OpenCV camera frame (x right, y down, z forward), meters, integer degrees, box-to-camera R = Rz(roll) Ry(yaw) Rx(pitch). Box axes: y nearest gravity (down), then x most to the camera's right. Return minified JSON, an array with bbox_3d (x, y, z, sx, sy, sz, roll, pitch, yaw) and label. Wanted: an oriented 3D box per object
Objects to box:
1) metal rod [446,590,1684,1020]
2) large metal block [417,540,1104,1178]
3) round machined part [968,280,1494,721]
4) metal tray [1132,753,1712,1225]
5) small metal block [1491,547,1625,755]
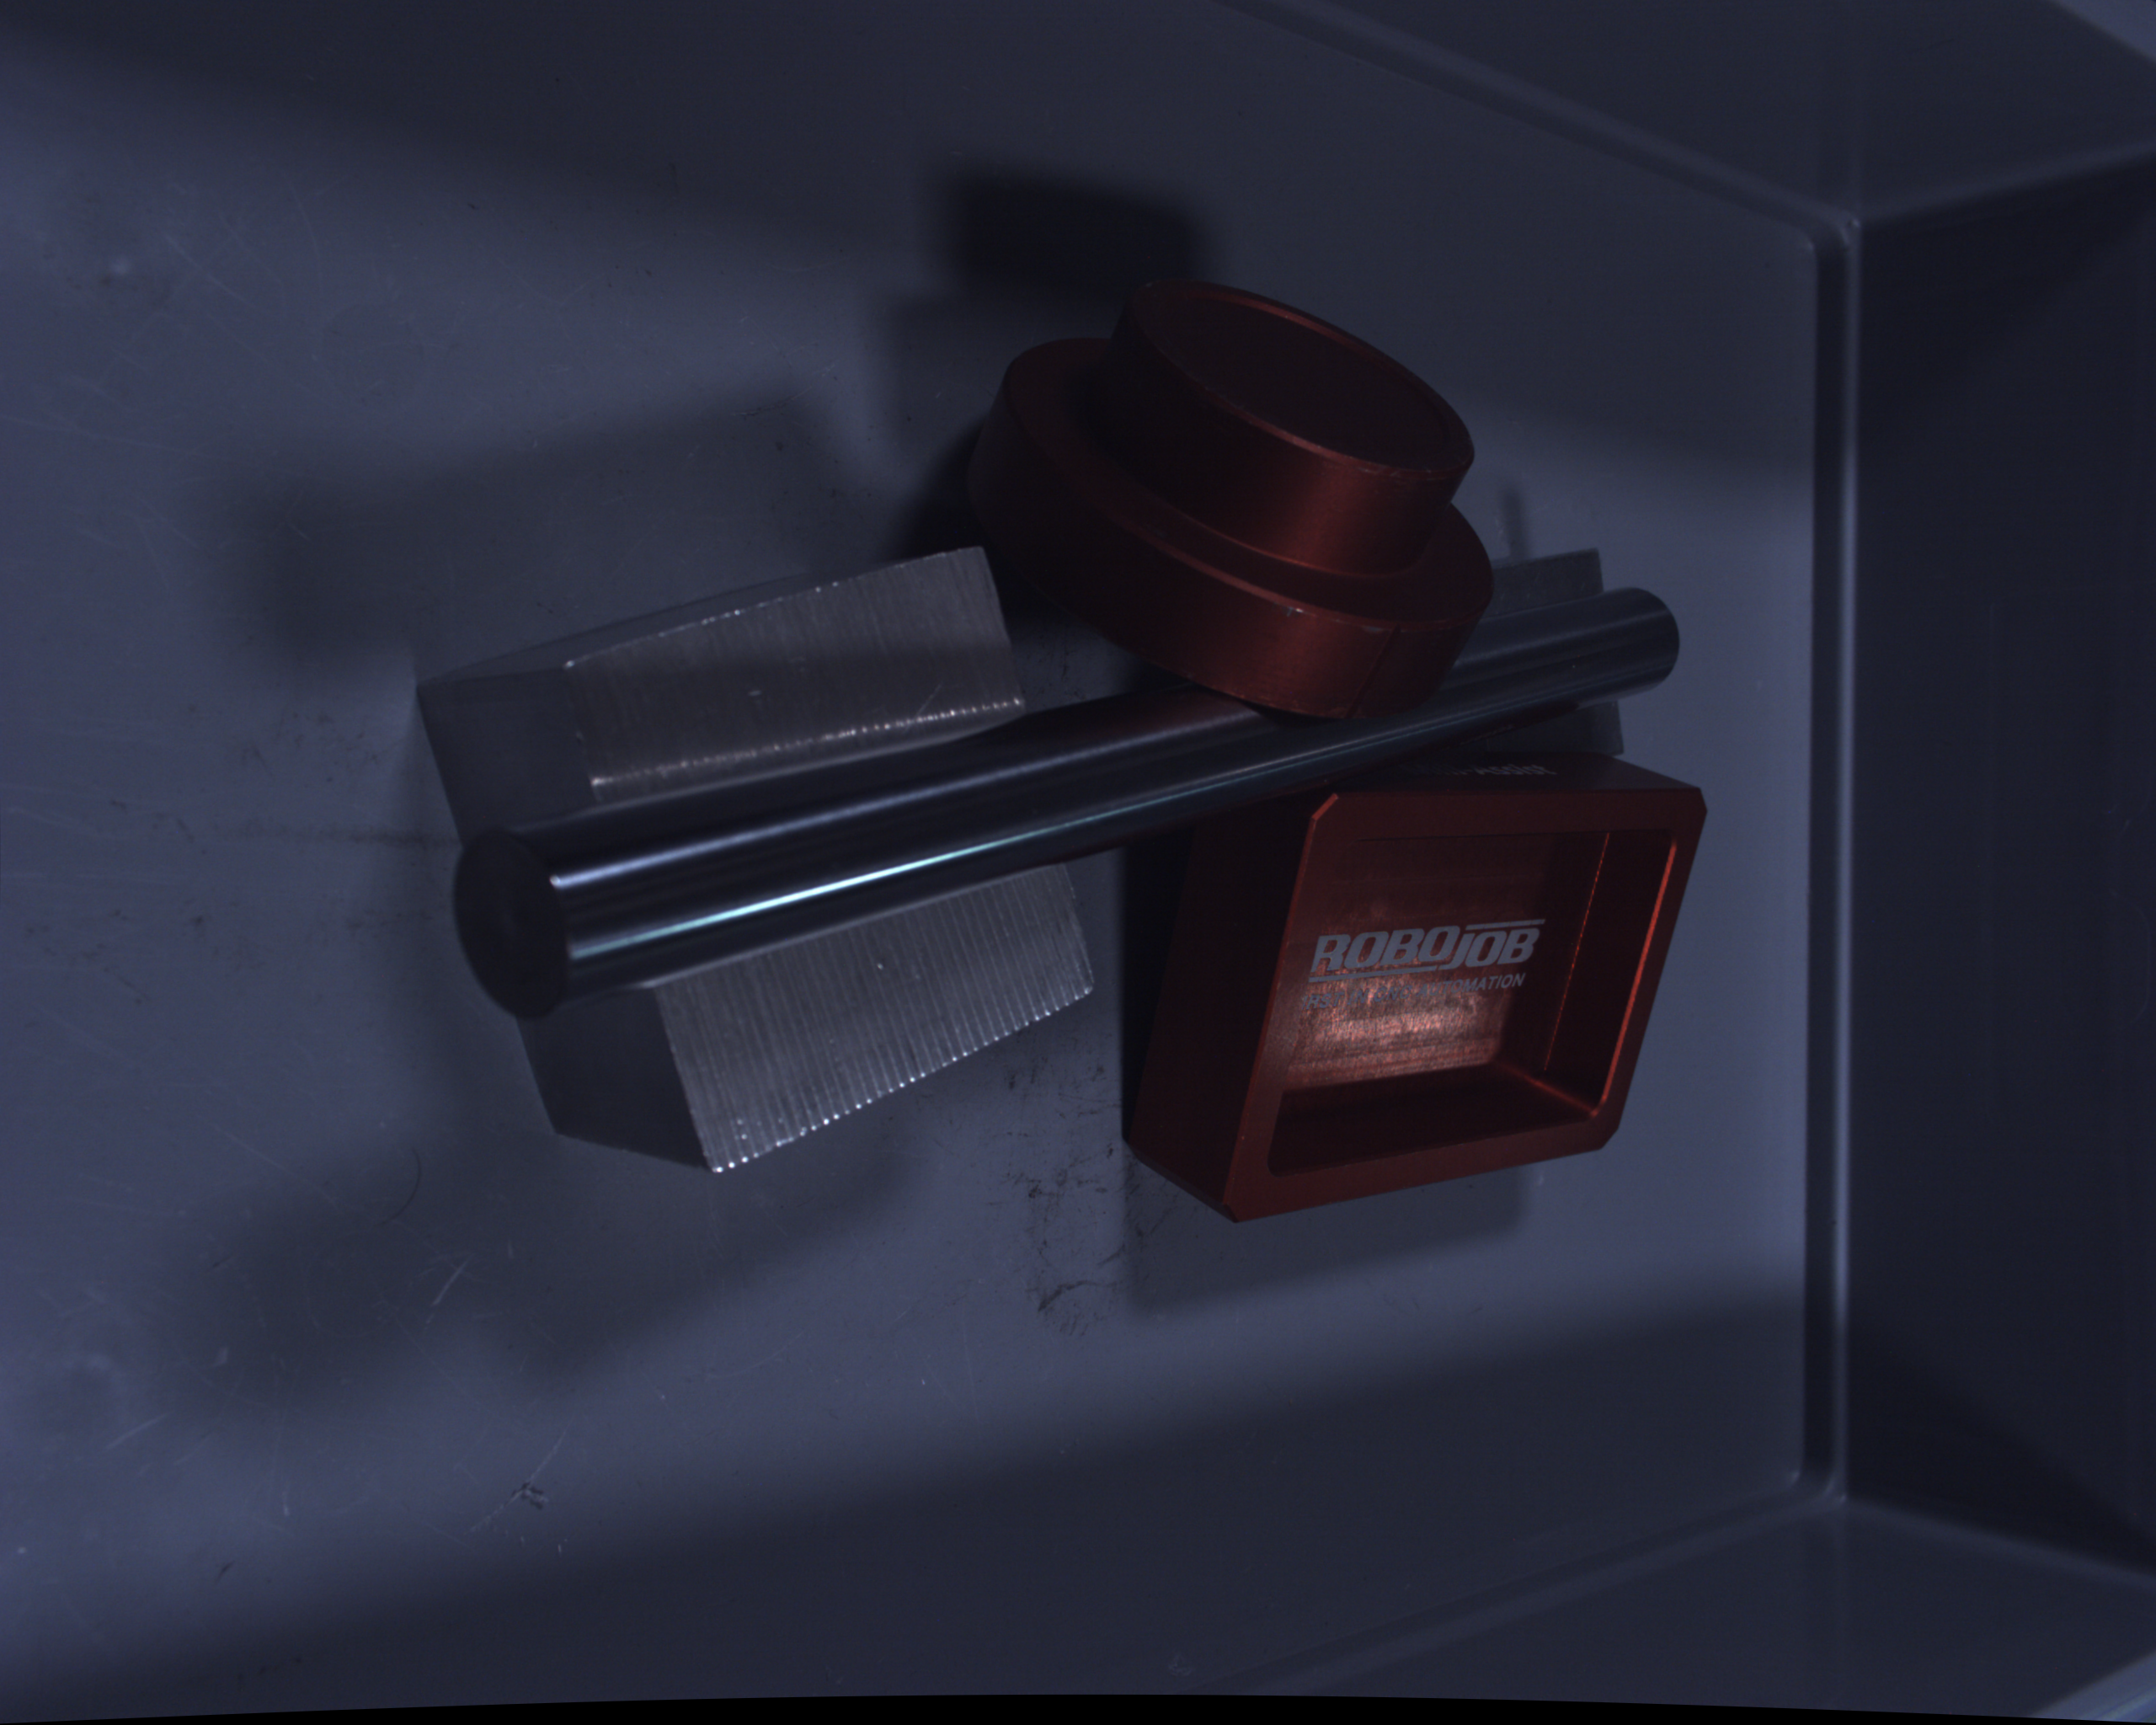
[{"bbox_3d":[0.028,-0.022,0.372,0.302,0.025,0.025,-16,101,-46],"label":"metal rod"},{"bbox_3d":[-0.051,-0.003,0.346,0.081,0.050,0.079,-23,105,-38],"label":"large metal block"},{"bbox_3d":[0.033,-0.072,0.384,0.099,0.098,0.042,-6,135,-40],"label":"round machined part"},{"bbox_3d":[0.077,0.023,0.450,0.131,0.030,0.089,-2,111,-41],"label":"metal tray"},{"bbox_3d":[0.101,-0.046,0.491,0.050,0.025,0.050,-15,100,-39],"label":"small metal block"}]
